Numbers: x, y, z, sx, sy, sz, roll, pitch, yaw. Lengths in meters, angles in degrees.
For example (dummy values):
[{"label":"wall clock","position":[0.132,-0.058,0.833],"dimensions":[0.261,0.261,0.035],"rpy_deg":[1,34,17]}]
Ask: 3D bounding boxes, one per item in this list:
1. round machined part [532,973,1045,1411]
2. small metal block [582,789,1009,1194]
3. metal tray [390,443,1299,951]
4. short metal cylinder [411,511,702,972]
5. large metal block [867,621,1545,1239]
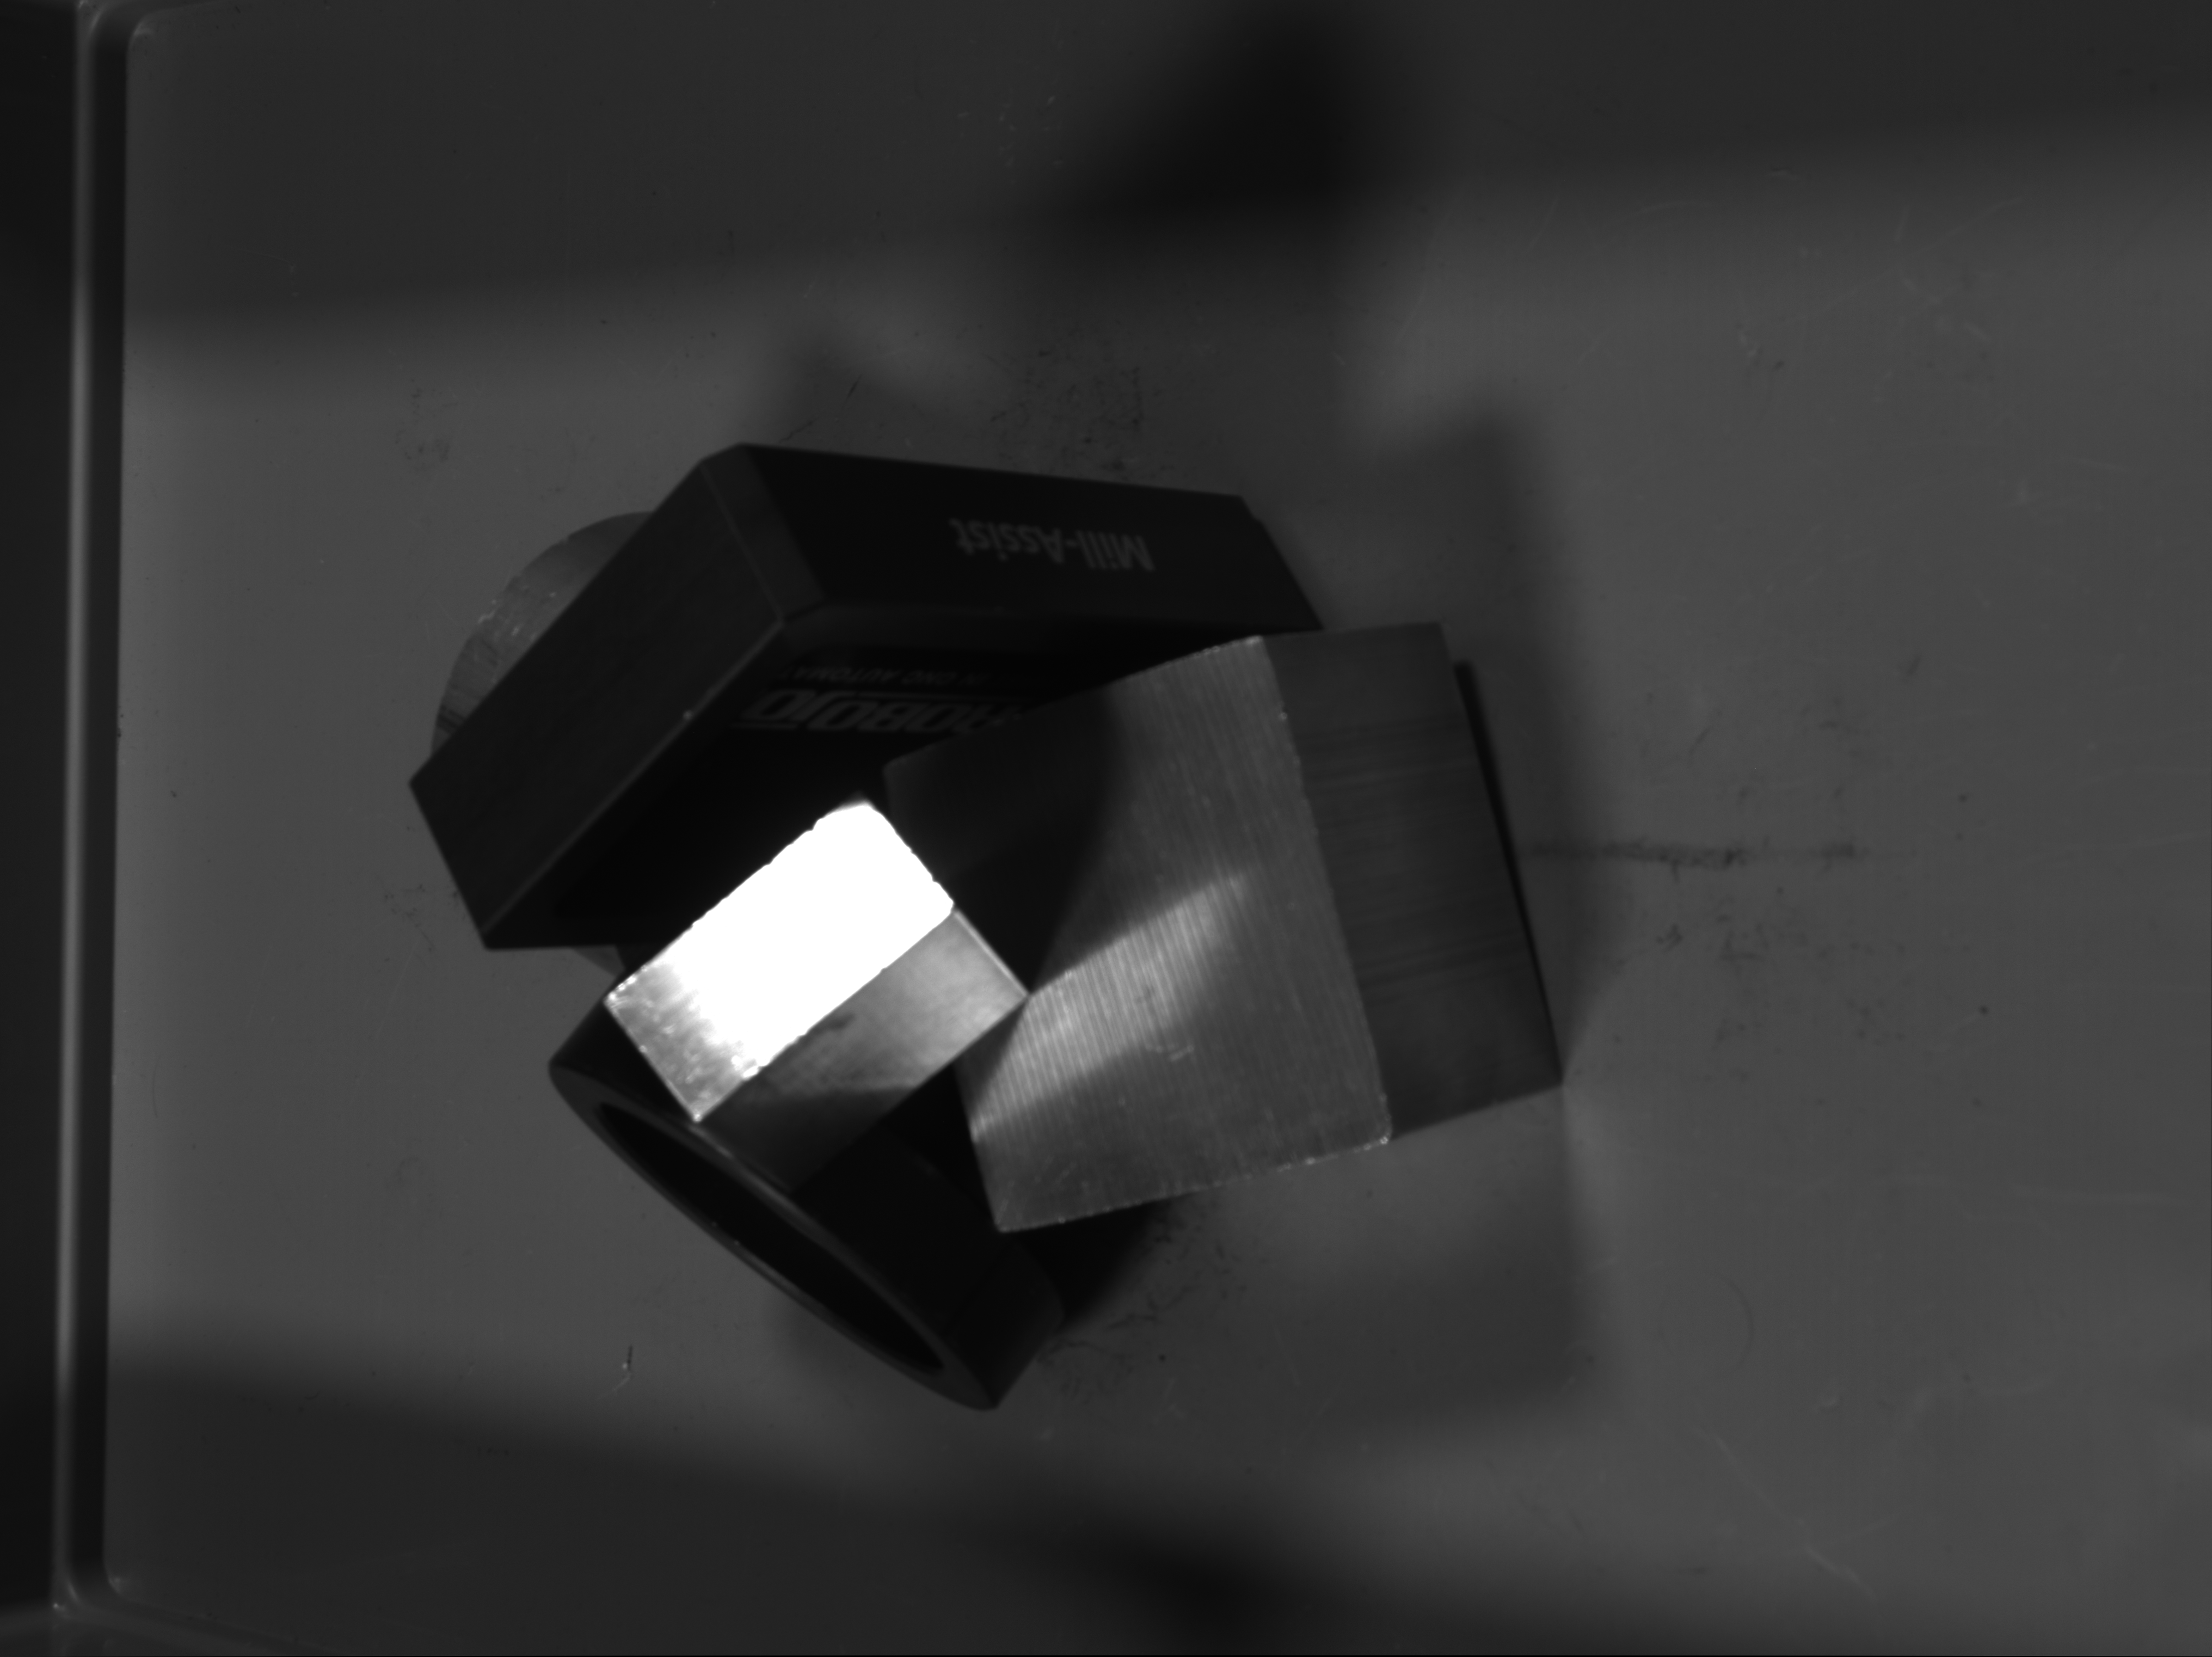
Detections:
[{"label":"round machined part","position":[-0.049,0.056,0.640],"dimensions":[0.098,0.098,0.042],"rpy_deg":[26,70,37]},{"label":"small metal block","position":[-0.047,0.026,0.569],"dimensions":[0.050,0.050,0.025],"rpy_deg":[-40,69,-3]},{"label":"metal tray","position":[-0.040,-0.019,0.599],"dimensions":[0.090,0.130,0.030],"rpy_deg":[-42,66,31]},{"label":"short metal cylinder","position":[-0.078,-0.011,0.663],"dimensions":[0.050,0.080,0.080],"rpy_deg":[28,107,36]},{"label":"large metal block","position":[0.015,0.017,0.596],"dimensions":[0.080,0.050,0.080],"rpy_deg":[-18,83,38]}]
